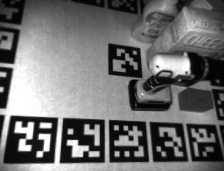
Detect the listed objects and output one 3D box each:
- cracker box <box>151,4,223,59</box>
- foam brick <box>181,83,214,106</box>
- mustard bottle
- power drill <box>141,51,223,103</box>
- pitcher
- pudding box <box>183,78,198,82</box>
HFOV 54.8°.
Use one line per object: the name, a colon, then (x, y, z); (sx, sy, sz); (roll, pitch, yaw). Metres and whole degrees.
cracker box: (0.219, -0.110, 0.572); (0.165, 0.213, 0.071); (0, 69, -14)
foam brick: (0.250, 0.028, 0.627); (0.078, 0.051, 0.052); (5, 71, -15)
mustard bottle: (0.130, -0.208, 0.587); (0.097, 0.191, 0.058); (15, 68, -10)
power drill: (0.160, -0.015, 0.503); (0.186, 0.186, 0.057); (1, 67, -17)
pitcher: (0.262, -0.206, 0.614); (0.190, 0.242, 0.133); (8, 69, -11)
pudding box: (0.200, -0.047, 0.603); (0.114, 0.090, 0.038); (3, 68, -13)
